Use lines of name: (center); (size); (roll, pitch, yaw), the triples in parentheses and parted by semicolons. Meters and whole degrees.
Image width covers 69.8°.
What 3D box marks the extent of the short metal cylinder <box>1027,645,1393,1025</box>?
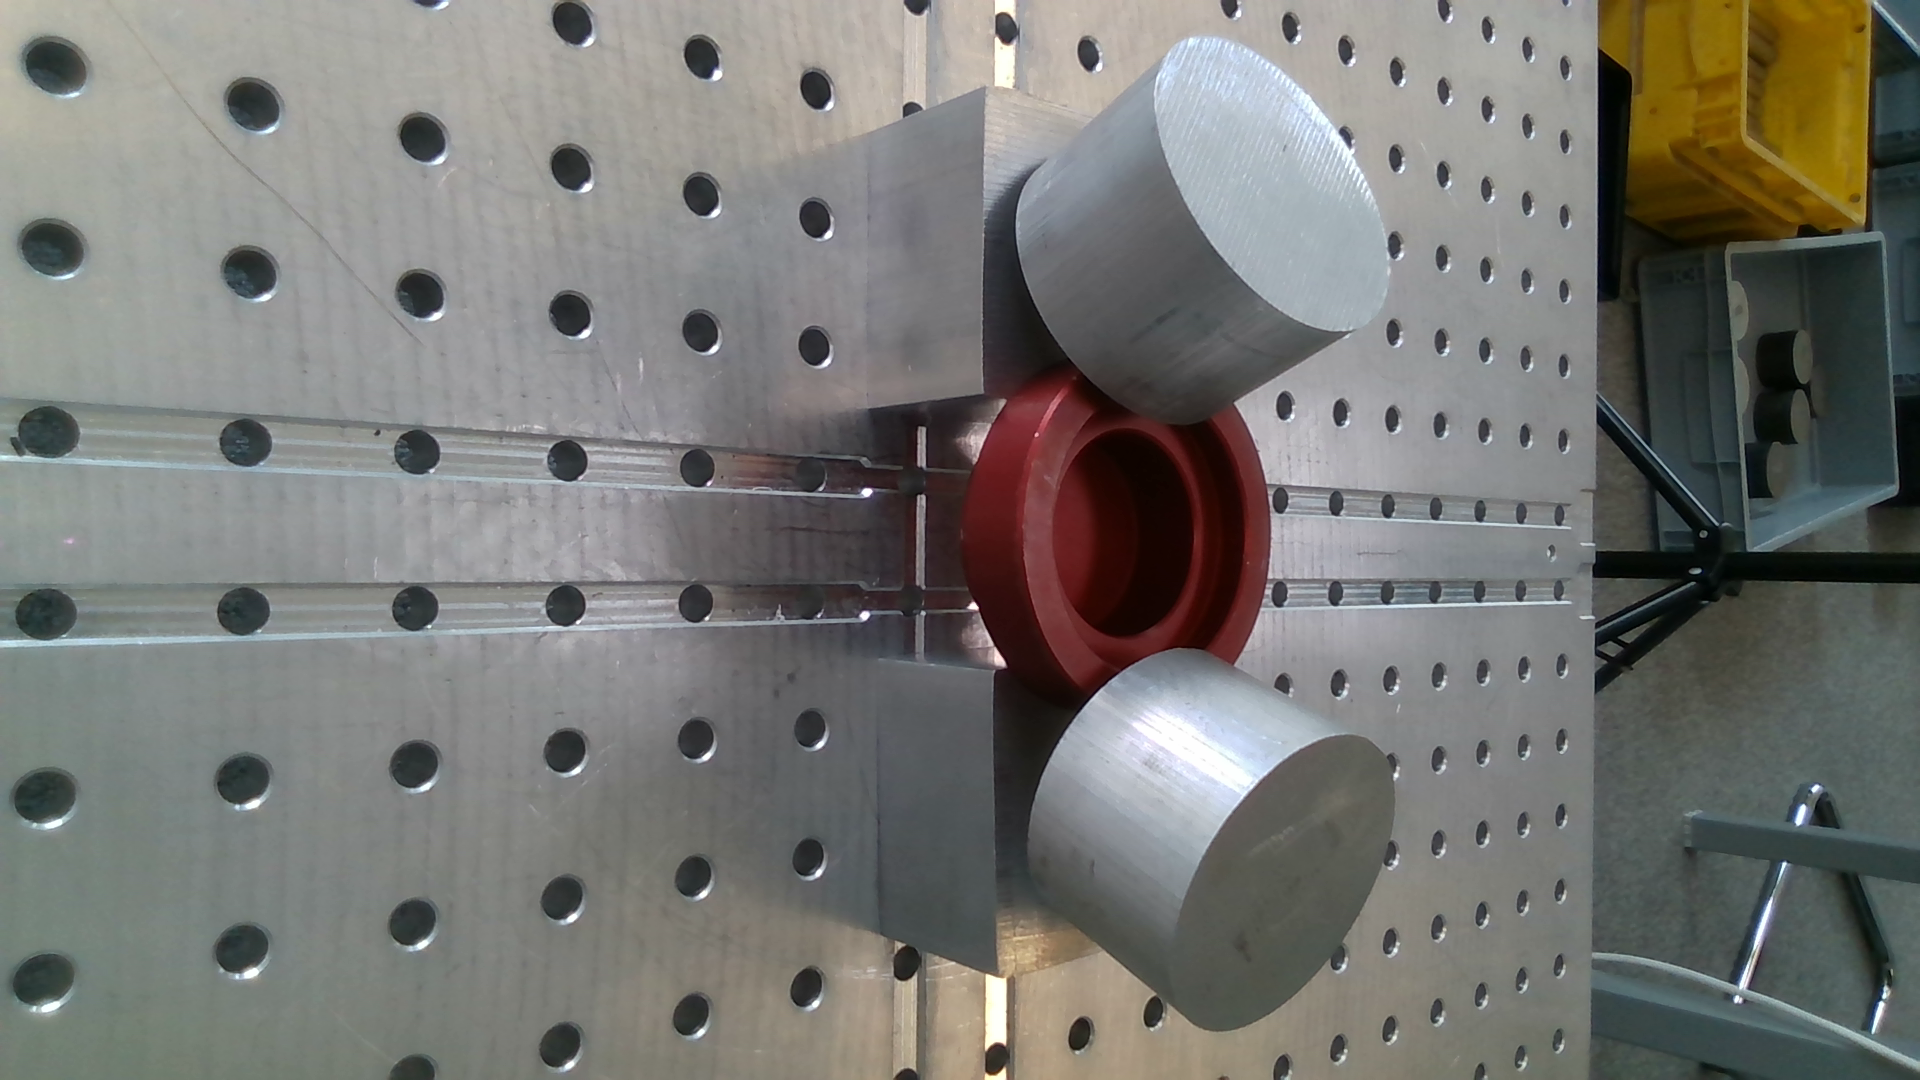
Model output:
short metal cylinder: (0.064, 0.073, 0.350); (0.080, 0.050, 0.080); (-18, 121, -34)

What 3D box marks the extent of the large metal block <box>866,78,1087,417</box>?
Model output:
large metal block: (0.021, -0.077, 0.395); (0.080, 0.050, 0.080); (1, 89, -40)

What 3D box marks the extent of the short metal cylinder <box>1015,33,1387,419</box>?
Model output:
short metal cylinder: (0.061, -0.078, 0.347); (0.080, 0.050, 0.080); (18, 58, -32)

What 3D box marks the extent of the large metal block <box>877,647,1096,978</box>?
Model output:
large metal block: (0.024, 0.072, 0.398); (0.080, 0.050, 0.080); (-1, 91, -40)

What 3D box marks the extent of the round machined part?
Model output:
round machined part: (0.039, -0.003, 0.377); (0.098, 0.042, 0.098); (0, 90, -40)
